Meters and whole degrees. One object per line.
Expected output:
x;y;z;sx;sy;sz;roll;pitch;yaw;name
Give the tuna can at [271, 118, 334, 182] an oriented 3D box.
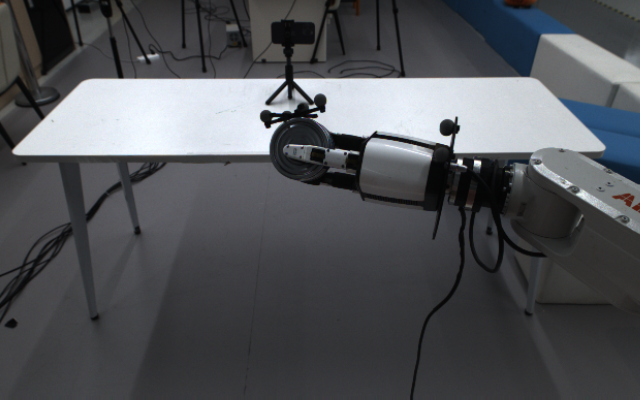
-0.021;-0.063;0.656;0.085;0.085;0.034;12;3;14;tuna can
